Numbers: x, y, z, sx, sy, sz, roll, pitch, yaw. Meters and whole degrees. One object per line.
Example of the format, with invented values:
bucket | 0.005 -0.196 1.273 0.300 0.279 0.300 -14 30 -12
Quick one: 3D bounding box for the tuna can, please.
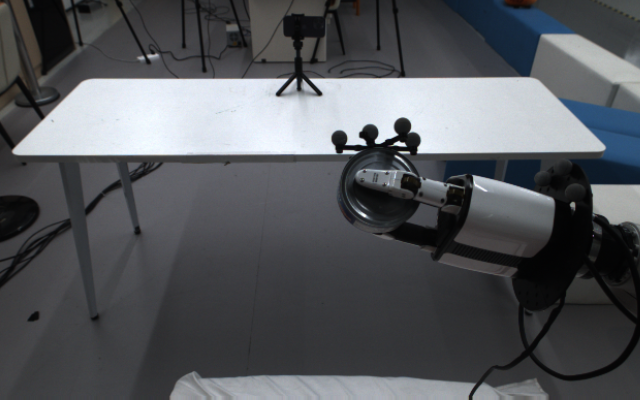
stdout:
tuna can | 0.064 -0.013 0.507 0.085 0.034 0.085 1 73 -4
